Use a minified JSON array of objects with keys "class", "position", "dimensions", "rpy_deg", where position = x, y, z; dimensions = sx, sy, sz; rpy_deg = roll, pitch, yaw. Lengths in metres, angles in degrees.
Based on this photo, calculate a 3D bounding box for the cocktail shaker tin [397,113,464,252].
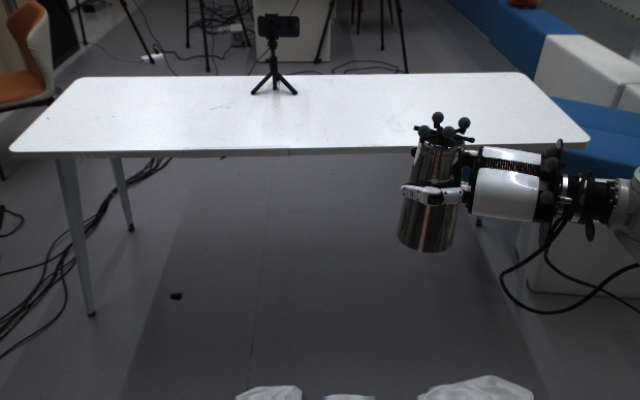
[{"class":"cocktail shaker tin","position":[0.176,-0.016,0.746],"dimensions":[0.093,0.170,0.093],"rpy_deg":[2,30,-1]}]
